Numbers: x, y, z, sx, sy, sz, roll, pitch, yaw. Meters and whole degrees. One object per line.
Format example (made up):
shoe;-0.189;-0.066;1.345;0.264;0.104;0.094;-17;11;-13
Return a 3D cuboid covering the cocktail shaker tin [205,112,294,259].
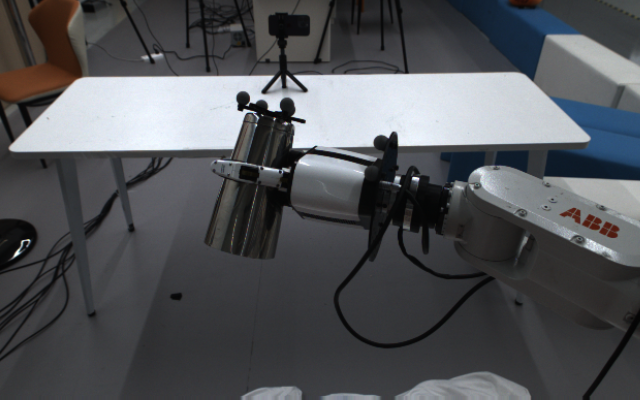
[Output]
cocktail shaker tin;-0.083;-0.019;0.618;0.093;0.170;0.093;13;2;0
